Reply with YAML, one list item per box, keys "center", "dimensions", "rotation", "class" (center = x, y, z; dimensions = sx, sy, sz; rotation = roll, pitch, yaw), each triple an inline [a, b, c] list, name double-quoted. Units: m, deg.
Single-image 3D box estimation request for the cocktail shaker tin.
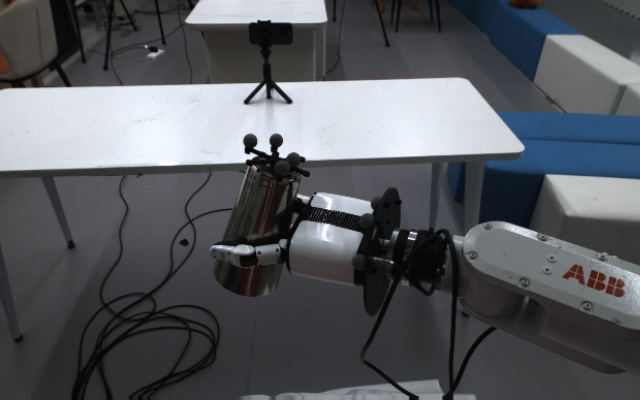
- center: [-0.077, 0.029, 0.632]
  dimensions: [0.093, 0.170, 0.093]
  rotation: [15, 27, -8]
  class: "cocktail shaker tin"
